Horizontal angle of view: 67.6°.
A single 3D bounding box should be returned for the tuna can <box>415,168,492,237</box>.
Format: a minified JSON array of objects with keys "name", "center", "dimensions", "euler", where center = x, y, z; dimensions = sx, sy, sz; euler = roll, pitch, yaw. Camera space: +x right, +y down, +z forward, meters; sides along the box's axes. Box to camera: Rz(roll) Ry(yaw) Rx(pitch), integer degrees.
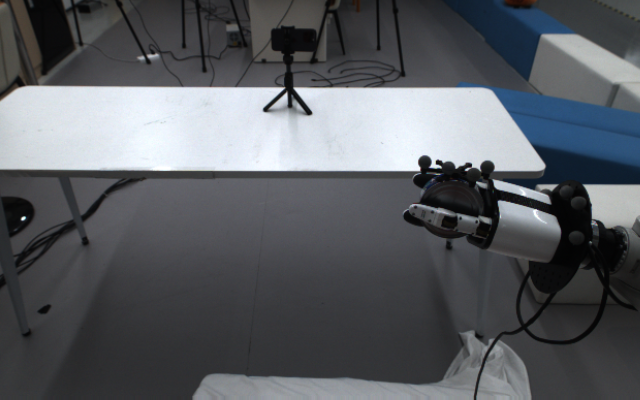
[{"name":"tuna can","center":[0.179,0.005,0.662],"dimensions":[0.085,0.085,0.034],"euler":[9,24,10]}]
